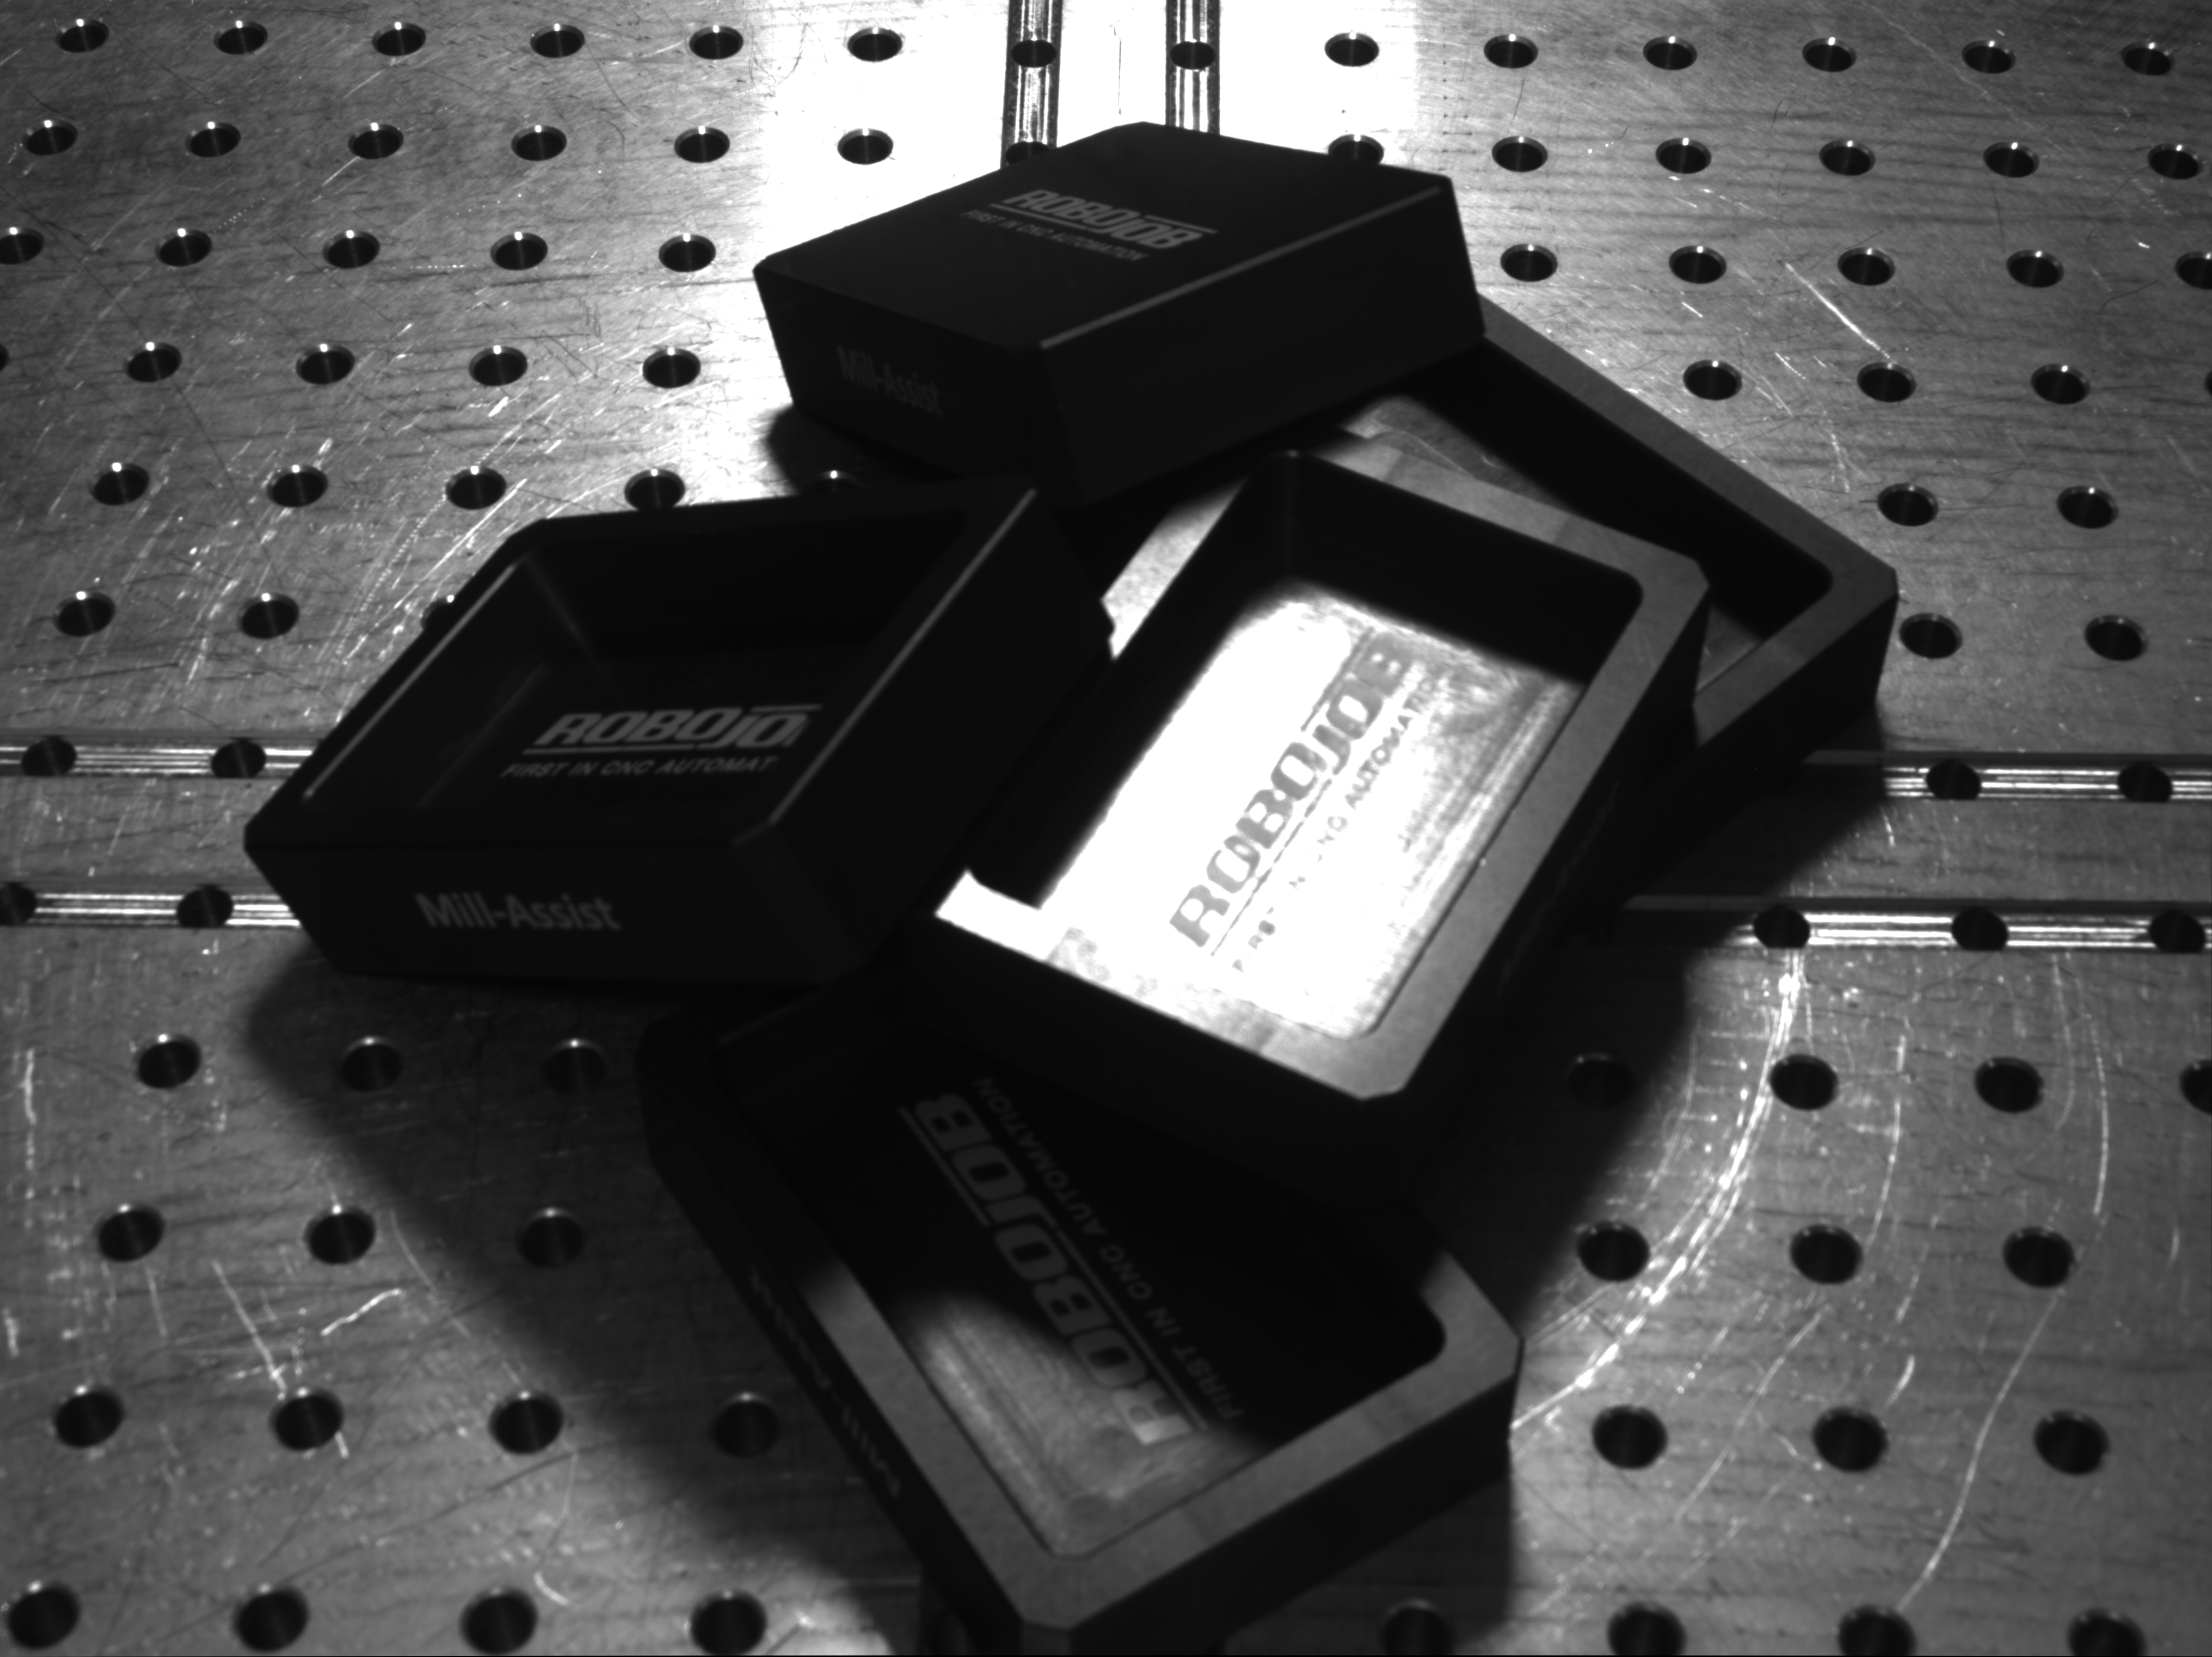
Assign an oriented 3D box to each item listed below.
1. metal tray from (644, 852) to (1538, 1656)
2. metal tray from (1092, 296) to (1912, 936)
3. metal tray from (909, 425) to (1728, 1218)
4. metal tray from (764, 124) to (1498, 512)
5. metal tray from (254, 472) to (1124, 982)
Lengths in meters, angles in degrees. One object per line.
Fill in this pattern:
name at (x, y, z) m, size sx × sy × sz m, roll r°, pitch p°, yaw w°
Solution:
metal tray at (-0.004, 0.067, 0.585) m, size 0.090 × 0.030 × 0.130 m, roll -26°, pitch 55°, yaw -20°
metal tray at (0.071, -0.047, 0.681) m, size 0.090 × 0.030 × 0.130 m, roll -36°, pitch 58°, yaw -26°
metal tray at (0.037, -0.007, 0.608) m, size 0.090 × 0.030 × 0.130 m, roll 23°, pitch 53°, yaw 18°
metal tray at (0.001, -0.099, 0.686) m, size 0.090 × 0.030 × 0.130 m, roll -24°, pitch 24°, yaw -19°
metal tray at (-0.072, -0.017, 0.616) m, size 0.130 × 0.030 × 0.090 m, roll -1°, pitch 42°, yaw 41°
